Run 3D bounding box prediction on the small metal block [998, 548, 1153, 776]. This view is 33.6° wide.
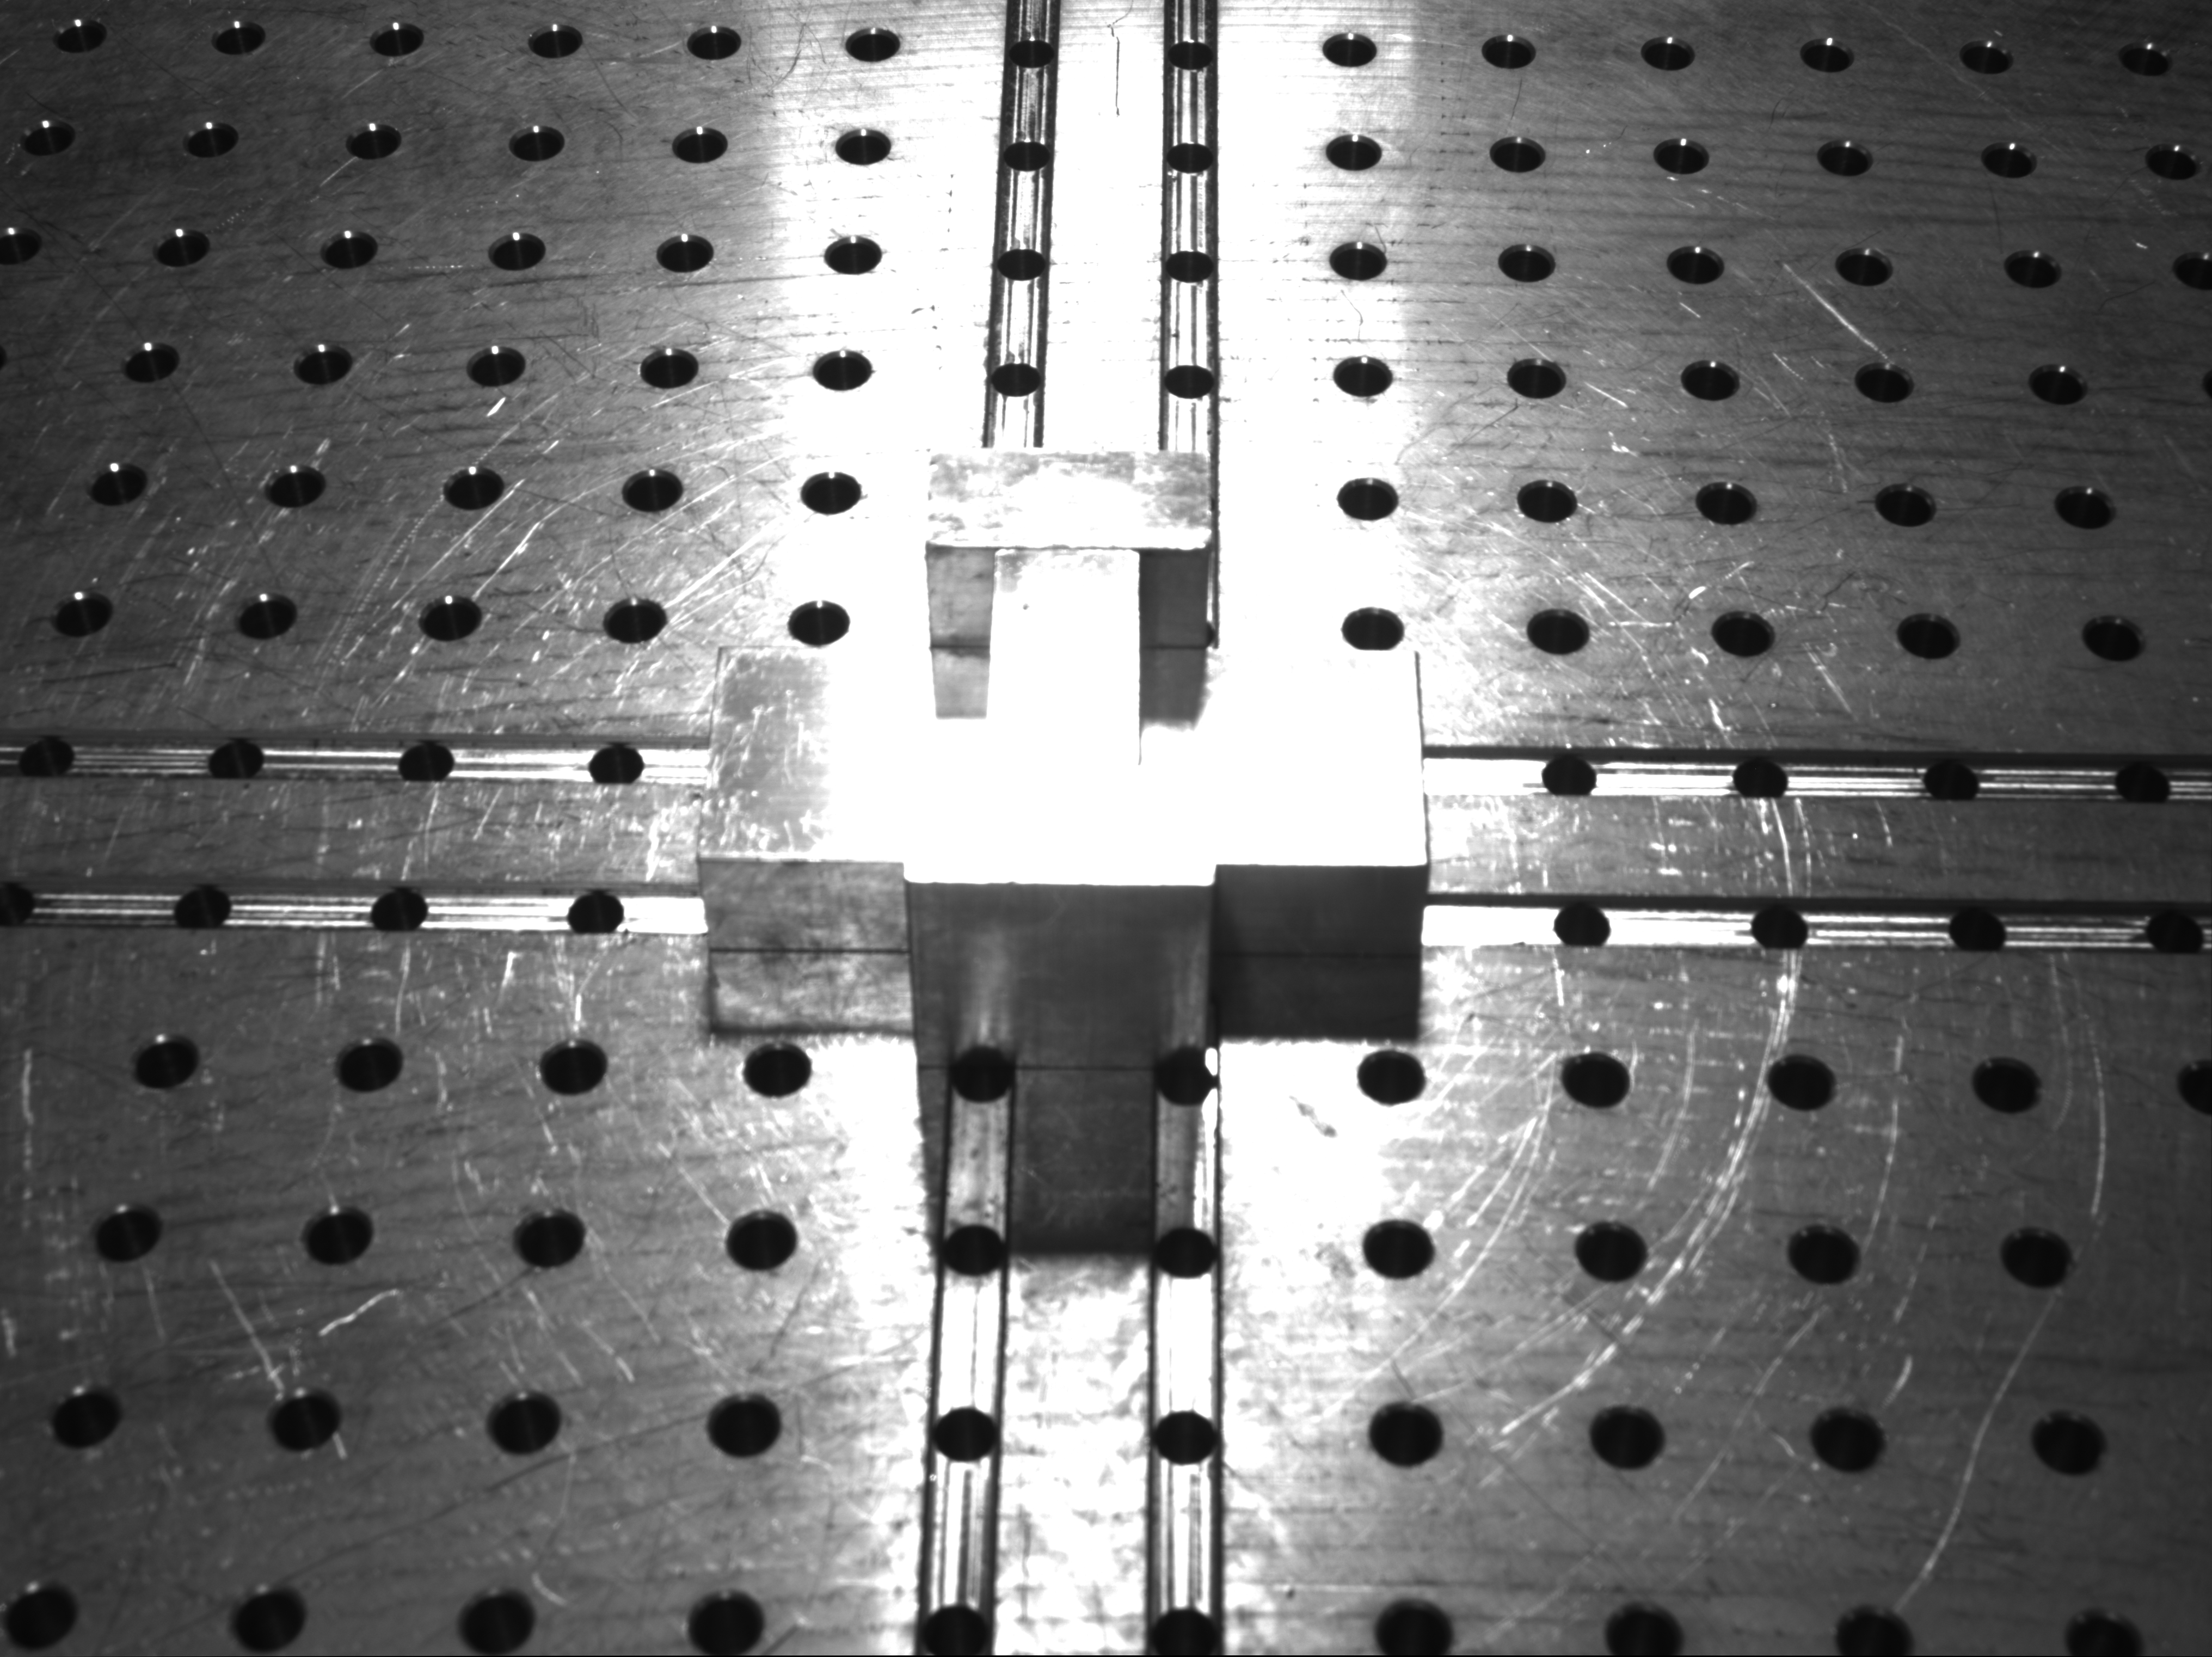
[{"bbox_3d":[-0.005,-0.013,0.639,0.025,0.050,0.050,1,50,1],"label":"small metal block"}]

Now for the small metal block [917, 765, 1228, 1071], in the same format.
[{"bbox_3d":[-0.005,0.016,0.615,0.050,0.050,0.025,1,50,1],"label":"small metal block"}]

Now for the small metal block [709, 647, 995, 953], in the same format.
[{"bbox_3d":[-0.042,-0.005,0.649,0.050,0.025,0.050,0,50,0],"label":"small metal block"}]

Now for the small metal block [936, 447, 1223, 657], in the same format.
[{"bbox_3d":[-0.004,-0.042,0.664,0.050,0.050,0.025,1,50,1],"label":"small metal block"}]

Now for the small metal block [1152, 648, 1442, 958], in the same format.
[{"bbox_3d":[0.033,-0.005,0.649,0.050,0.025,0.050,1,50,1],"label":"small metal block"}]
